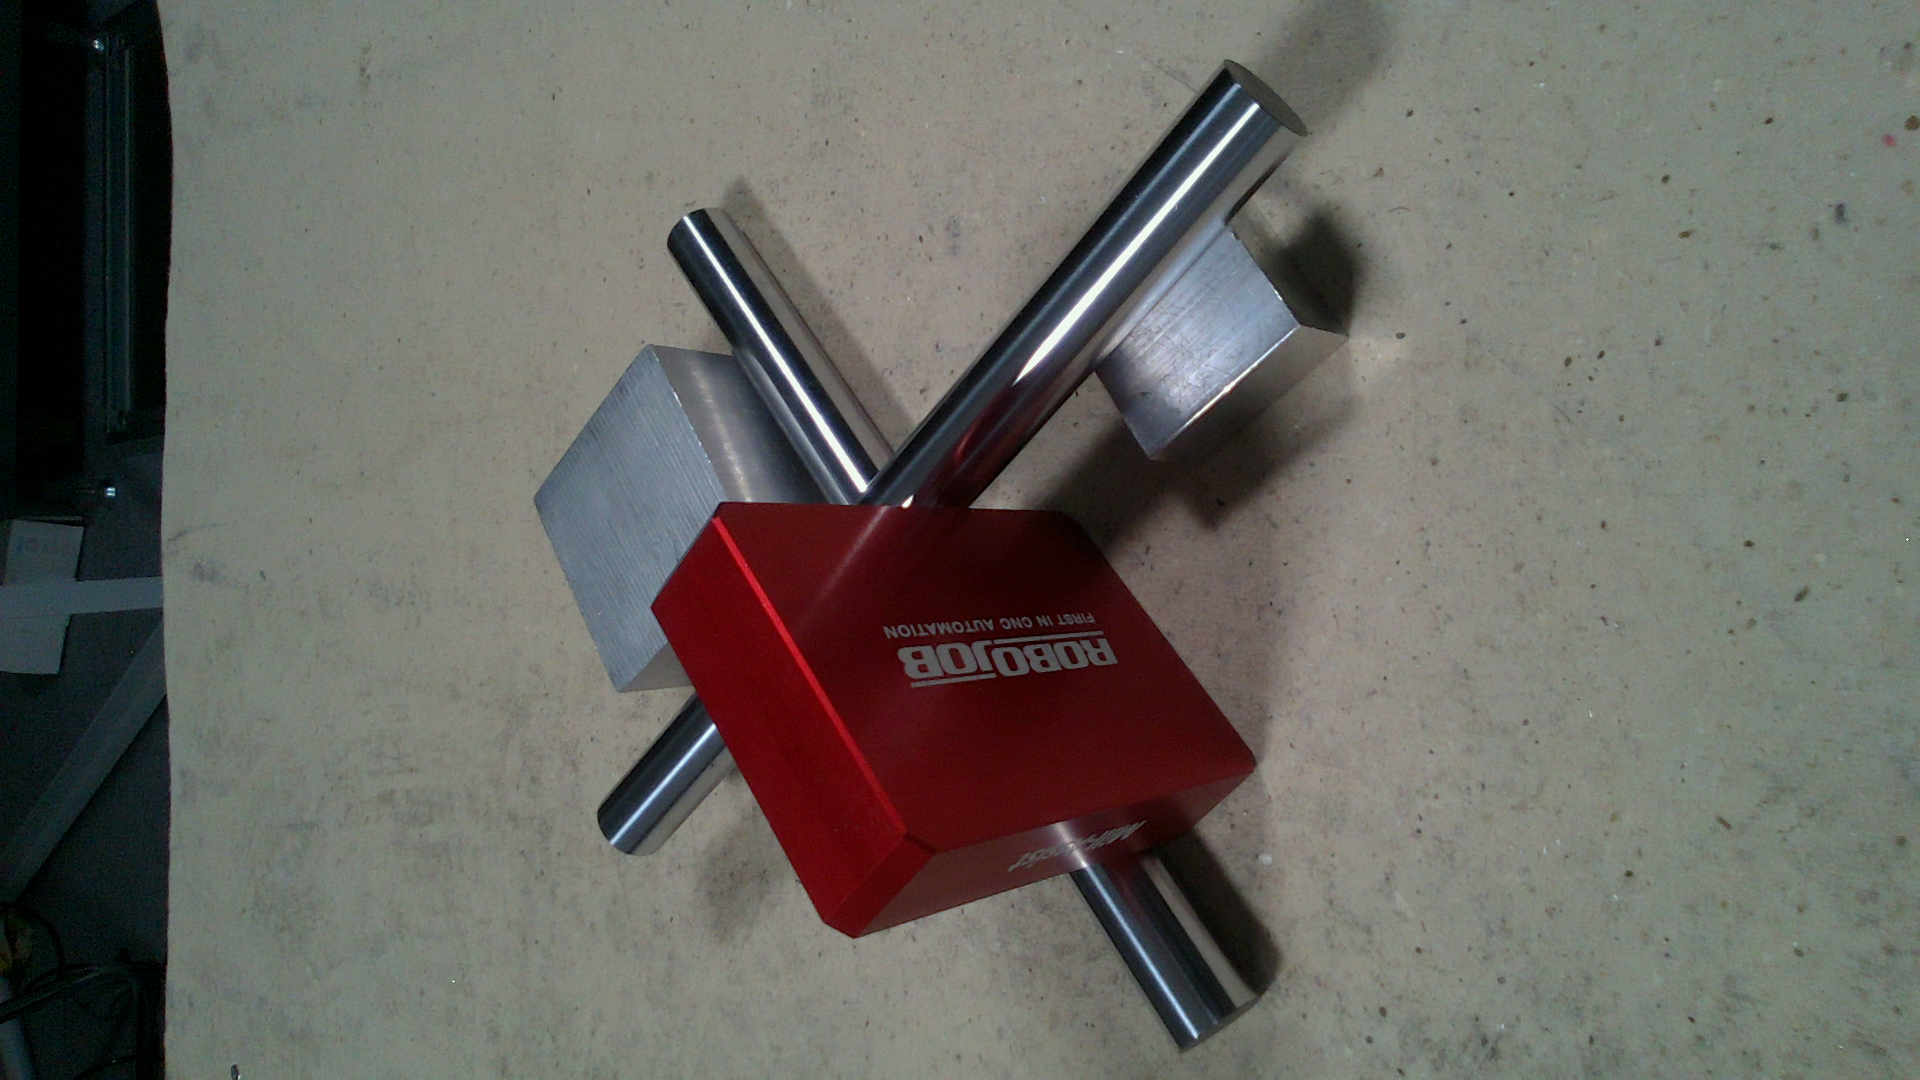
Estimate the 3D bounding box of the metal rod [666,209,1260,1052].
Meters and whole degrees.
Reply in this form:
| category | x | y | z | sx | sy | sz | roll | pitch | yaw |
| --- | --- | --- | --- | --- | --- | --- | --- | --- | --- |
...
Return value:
| category | x | y | z | sx | sy | sz | roll | pitch | yaw |
| --- | --- | --- | --- | --- | --- | --- | --- | --- | --- |
| metal rod | -0.012 | 0.009 | 0.406 | 0.025 | 0.025 | 0.299 | -49 | 61 | 29 |

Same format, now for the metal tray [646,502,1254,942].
| category | x | y | z | sx | sy | sz | roll | pitch | yaw |
| --- | --- | --- | --- | --- | --- | --- | --- | --- | --- |
| metal tray | 0.003 | 0.034 | 0.323 | 0.030 | 0.131 | 0.090 | -50 | 60 | 29 |

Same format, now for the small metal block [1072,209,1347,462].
| category | x | y | z | sx | sy | sz | roll | pitch | yaw |
| --- | --- | --- | --- | --- | --- | --- | --- | --- | --- |
| small metal block | 0.059 | -0.055 | 0.345 | 0.050 | 0.025 | 0.050 | -43 | 64 | 32 |

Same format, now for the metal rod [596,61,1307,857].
| category | x | y | z | sx | sy | sz | roll | pitch | yaw |
| --- | --- | --- | --- | --- | --- | --- | --- | --- | --- |
| metal rod | -0.020 | -0.002 | 0.379 | 0.299 | 0.025 | 0.025 | -47 | 62 | 30 |

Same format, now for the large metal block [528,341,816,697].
| category | x | y | z | sx | sy | sz | roll | pitch | yaw |
| --- | --- | --- | --- | --- | --- | --- | --- | --- | --- |
| large metal block | -0.088 | -0.006 | 0.451 | 0.080 | 0.050 | 0.080 | -44 | 63 | 31 |
